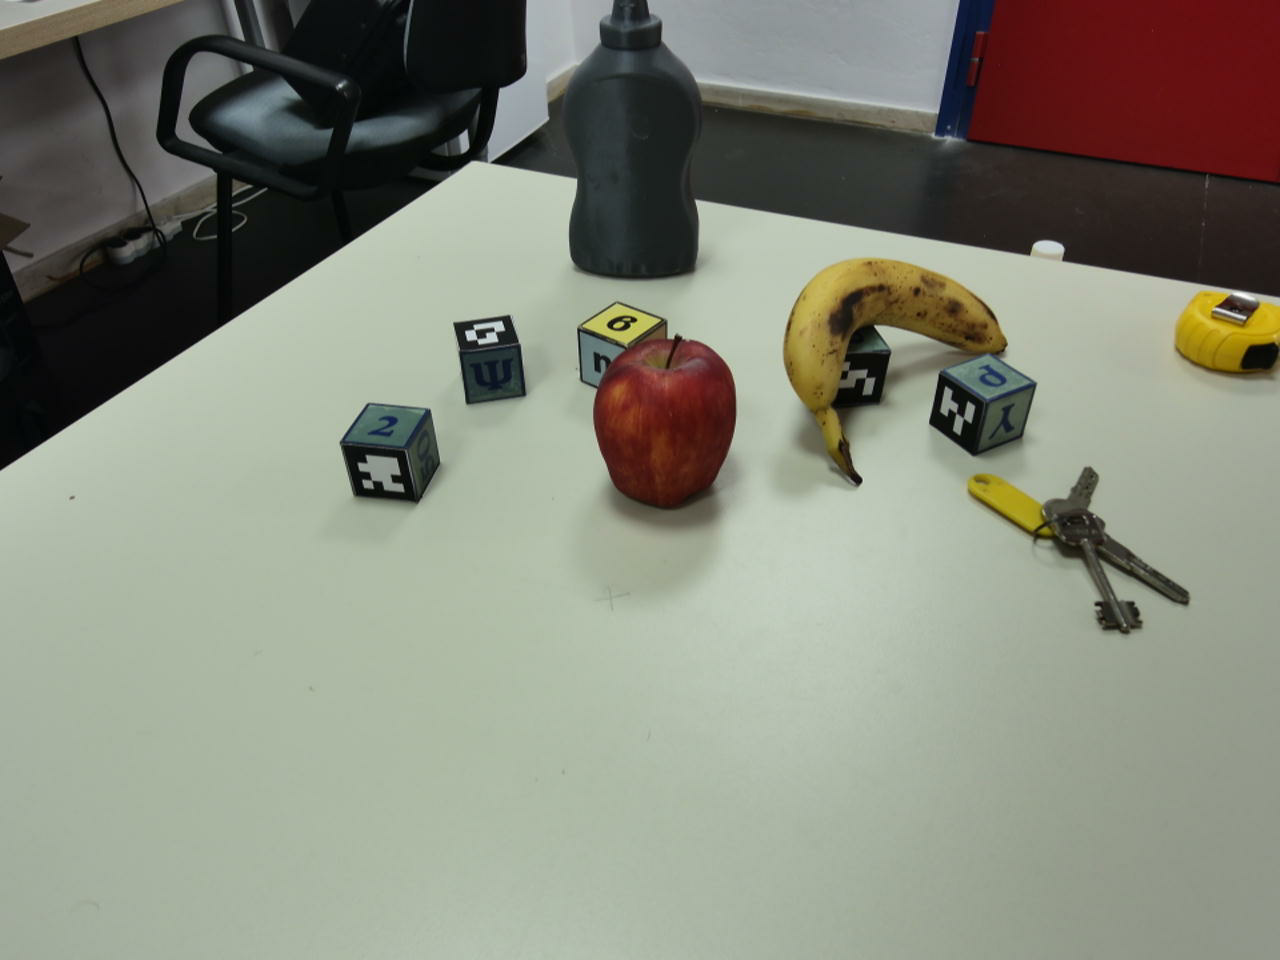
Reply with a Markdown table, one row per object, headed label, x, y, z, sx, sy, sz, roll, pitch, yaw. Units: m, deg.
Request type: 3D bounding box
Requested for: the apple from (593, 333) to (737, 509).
| label | x | y | z | sx | sy | sz | roll | pitch | yaw |
| --- | --- | --- | --- | --- | --- | --- | --- | --- | --- |
| apple | 0.014 | -0.037 | 0.524 | 0.083 | 0.090 | 0.083 | 0 | 38 | 0 |
